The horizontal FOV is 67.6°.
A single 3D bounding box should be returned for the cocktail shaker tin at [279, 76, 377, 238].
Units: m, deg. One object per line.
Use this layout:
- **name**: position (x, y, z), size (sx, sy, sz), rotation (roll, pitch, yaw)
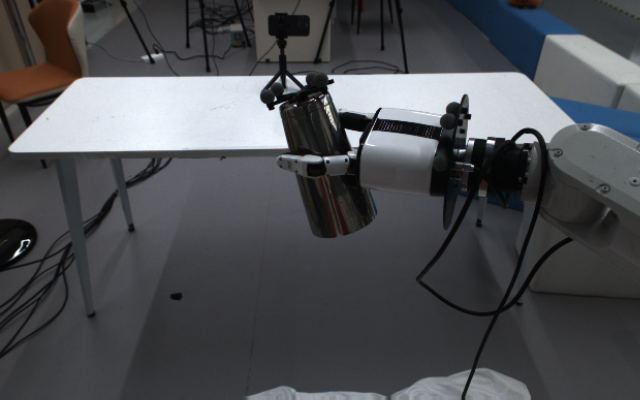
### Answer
- **cocktail shaker tin**: position (0.007, -0.047, 0.620), size (0.093, 0.170, 0.093), rotation (-17, 20, 7)
